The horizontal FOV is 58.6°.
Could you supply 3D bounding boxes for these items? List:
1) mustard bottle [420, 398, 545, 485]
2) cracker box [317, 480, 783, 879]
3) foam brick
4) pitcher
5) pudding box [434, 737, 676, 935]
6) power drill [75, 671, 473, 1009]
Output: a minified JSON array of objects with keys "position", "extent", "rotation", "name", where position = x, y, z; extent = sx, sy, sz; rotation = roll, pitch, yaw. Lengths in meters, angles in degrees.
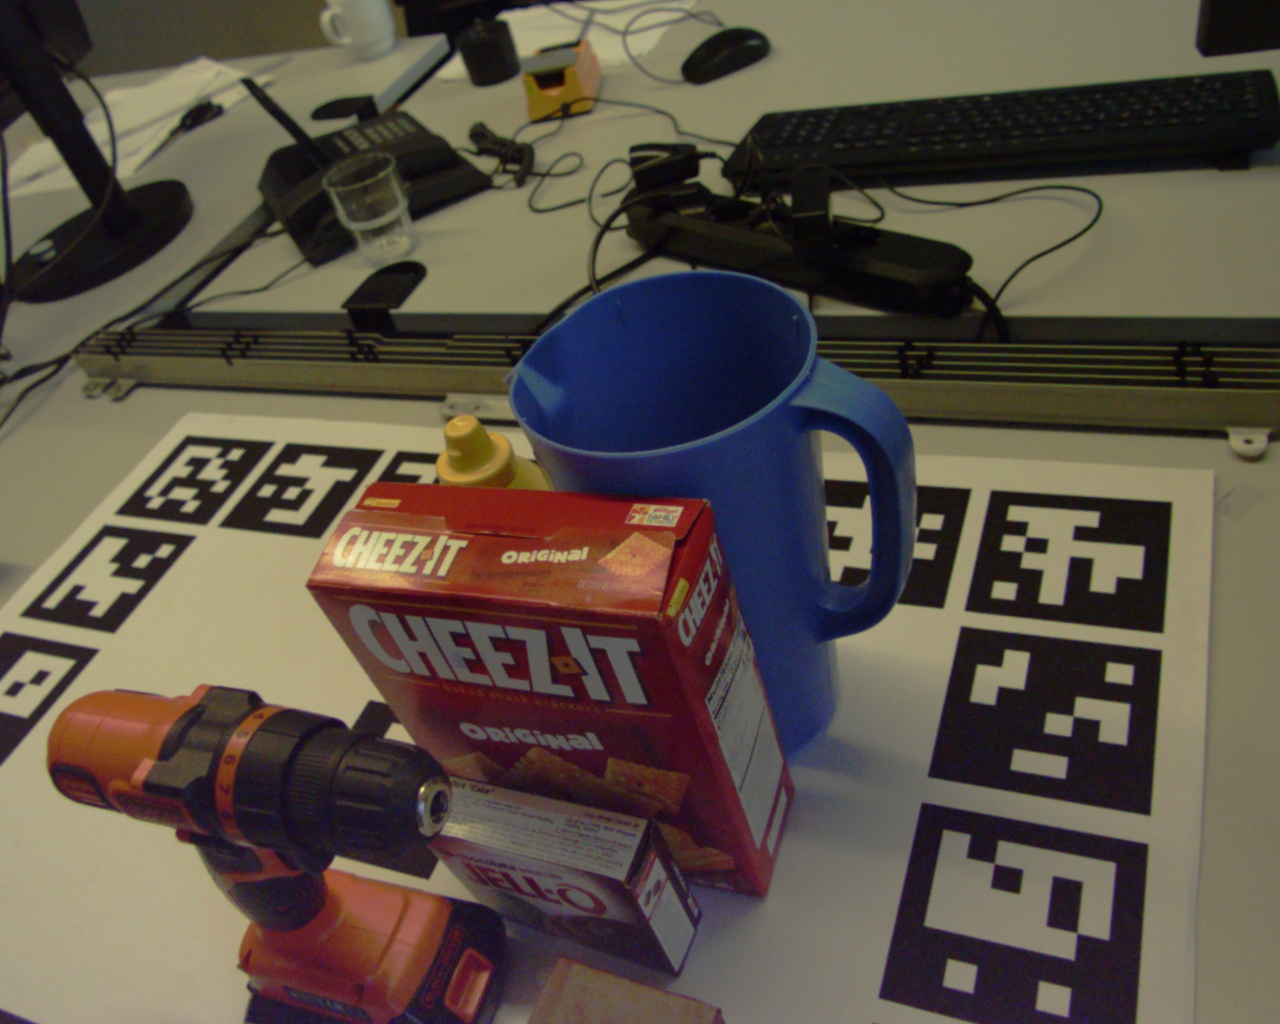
[{"position":[-0.077,0.011,0.658],"extent":[0.097,0.190,0.058],"rotation":[17,54,34],"name":"mustard bottle"},{"position":[-0.036,0.086,0.555],"extent":[0.166,0.212,0.072],"rotation":[2,44,26],"name":"cracker box"},{"position":[-0.009,0.231,0.521],"extent":[0.079,0.051,0.052],"rotation":[7,50,27],"name":"foam brick"},{"position":[0.041,0.014,0.593],"extent":[0.191,0.240,0.132],"rotation":[9,49,31],"name":"pitcher"},{"position":[-0.046,0.158,0.564],"extent":[0.115,0.089,0.038],"rotation":[4,45,28],"name":"pudding box"},{"position":[-0.141,0.148,0.508],"extent":[0.186,0.185,0.057],"rotation":[5,44,24],"name":"power drill"}]
